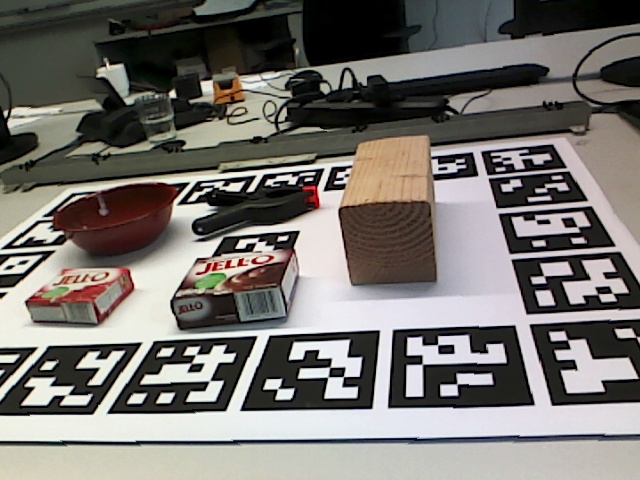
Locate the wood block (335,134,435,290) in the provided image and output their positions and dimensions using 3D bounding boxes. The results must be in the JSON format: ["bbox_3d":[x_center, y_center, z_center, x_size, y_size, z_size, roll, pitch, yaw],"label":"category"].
[{"bbox_3d":[0.080,-0.038,0.687,0.090,0.090,0.206,-3,28,13],"label":"wood block"}]

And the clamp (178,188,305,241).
[{"bbox_3d":[-0.103,-0.043,0.840,0.165,0.036,0.122,-8,27,1],"label":"clamp"}]

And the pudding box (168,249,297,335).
[{"bbox_3d":[-0.086,0.052,0.629,0.114,0.038,0.090,-7,31,12],"label":"pudding box"}]

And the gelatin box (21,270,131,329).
[{"bbox_3d":[-0.267,0.063,0.679,0.090,0.030,0.073,-1,30,18],"label":"gelatin box"}]

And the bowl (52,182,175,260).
[{"bbox_3d":[-0.269,-0.020,0.831,0.162,0.055,0.162,-8,30,4],"label":"bowl"}]
